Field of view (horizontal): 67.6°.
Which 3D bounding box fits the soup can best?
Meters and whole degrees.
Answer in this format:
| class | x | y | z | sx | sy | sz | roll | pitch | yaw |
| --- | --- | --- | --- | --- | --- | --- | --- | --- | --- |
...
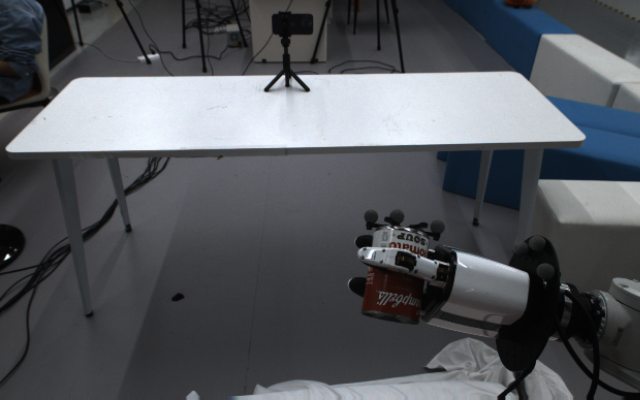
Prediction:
| class | x | y | z | sx | sy | sz | roll | pitch | yaw |
| --- | --- | --- | --- | --- | --- | --- | --- | --- | --- |
| soup can | 0.091 | 0.088 | 0.563 | 0.067 | 0.067 | 0.101 | 8 | 71 | 9 |
